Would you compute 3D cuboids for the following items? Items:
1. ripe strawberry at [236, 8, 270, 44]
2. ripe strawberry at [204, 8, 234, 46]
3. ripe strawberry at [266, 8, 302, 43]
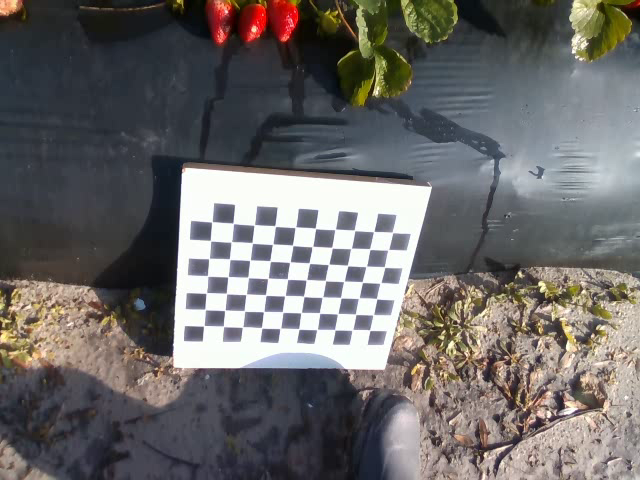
[{"bbox_3d":[-0.063,-0.198,0.548,0.030,0.039,0.037,13,-41,-14],"label":"ripe strawberry"},{"bbox_3d":[-0.092,-0.202,0.550,0.031,0.046,0.023,3,11,-10],"label":"ripe strawberry"},{"bbox_3d":[-0.035,-0.199,0.557,0.035,0.041,0.034,-1,-25,-8],"label":"ripe strawberry"}]
